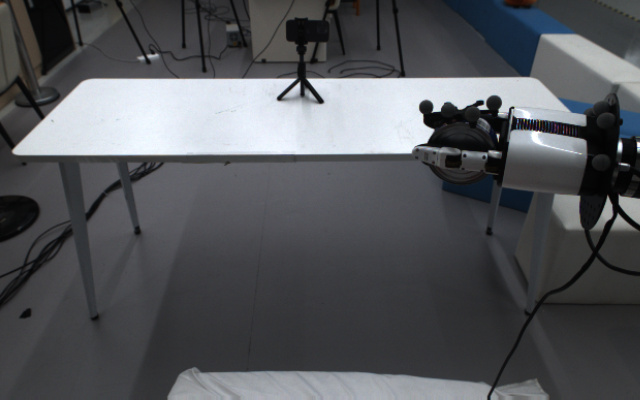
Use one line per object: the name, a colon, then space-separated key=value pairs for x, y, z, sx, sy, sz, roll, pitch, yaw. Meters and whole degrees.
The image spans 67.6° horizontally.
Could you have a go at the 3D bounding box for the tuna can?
tuna can: x=0.181 y=-0.066 z=0.614 sx=0.085 sy=0.085 sz=0.034 roll=15 pitch=34 yaw=17
